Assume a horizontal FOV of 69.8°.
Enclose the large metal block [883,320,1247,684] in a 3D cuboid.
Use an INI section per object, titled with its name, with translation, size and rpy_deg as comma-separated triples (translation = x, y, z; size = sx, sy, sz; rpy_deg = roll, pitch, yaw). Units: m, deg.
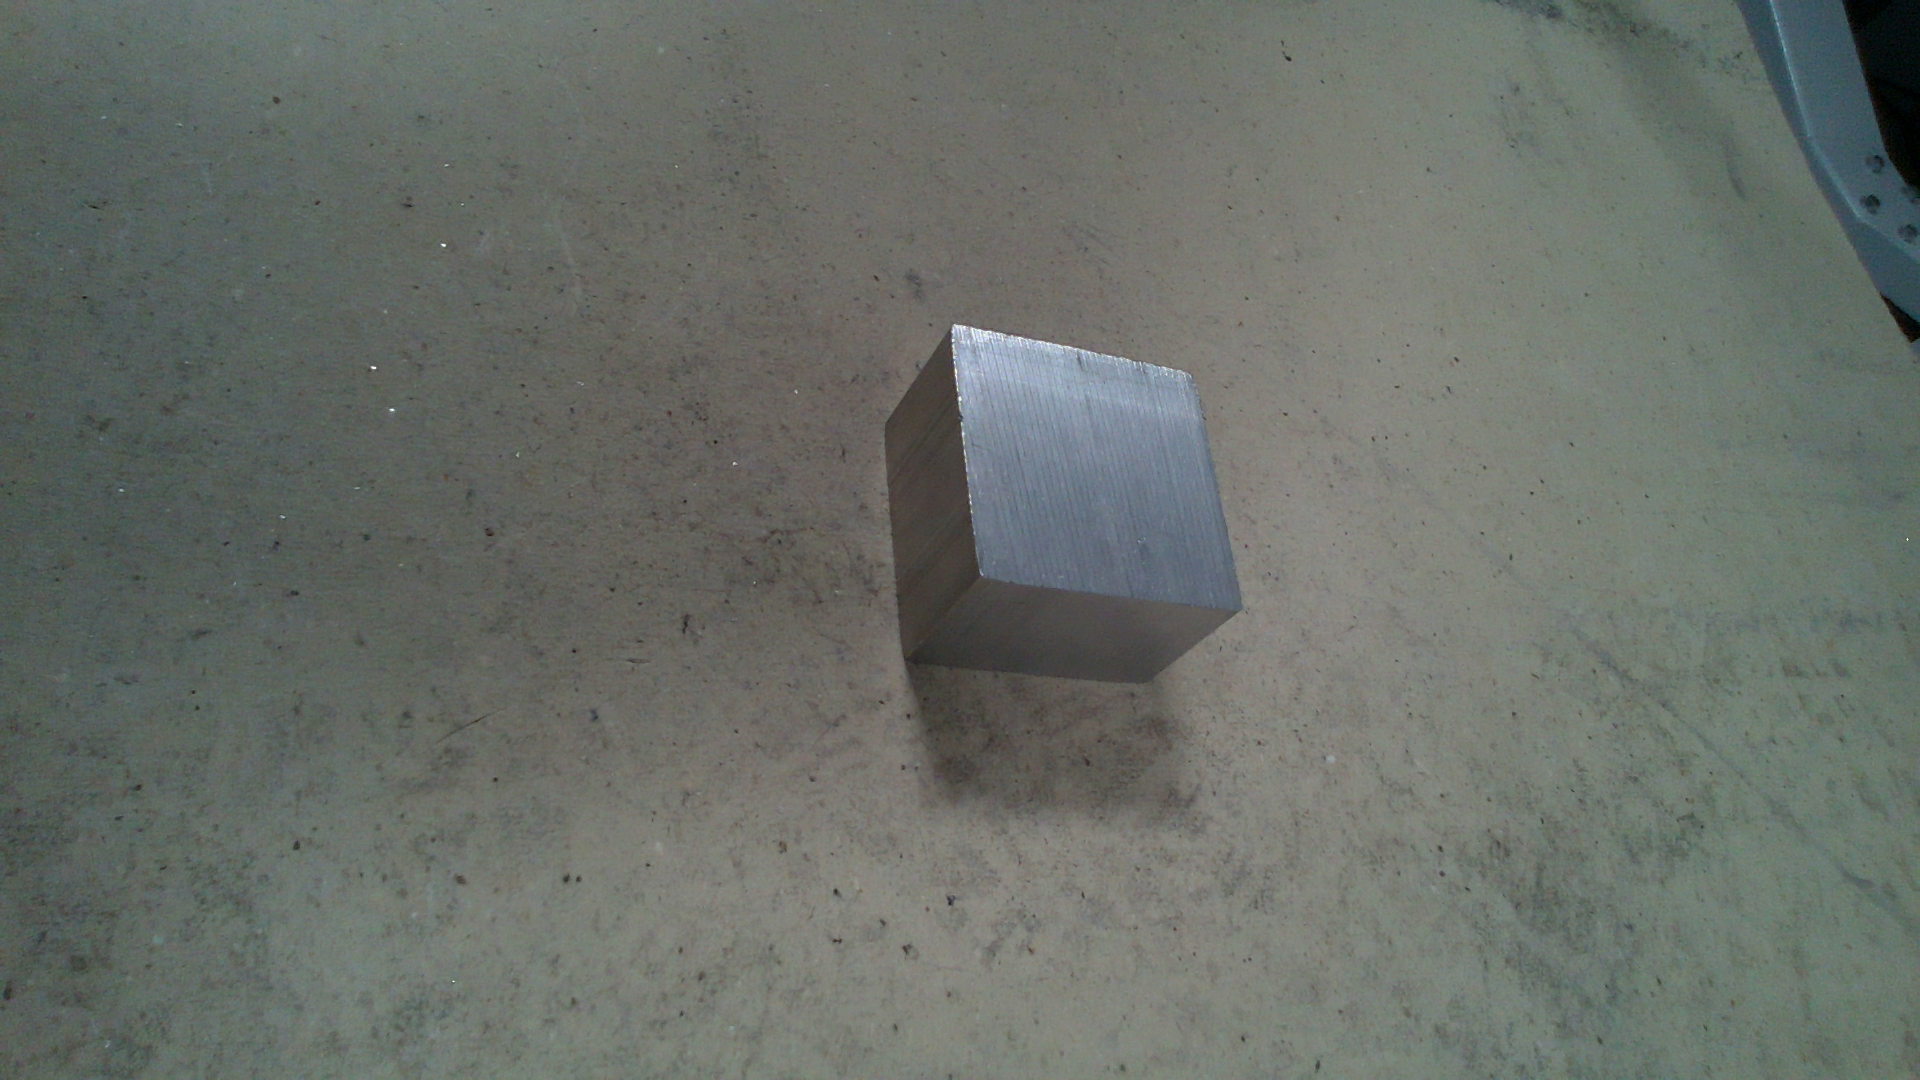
[large metal block]
translation = 0.027, -0.009, 0.394
size = 0.080, 0.050, 0.080
rpy_deg = 8, 58, -24
